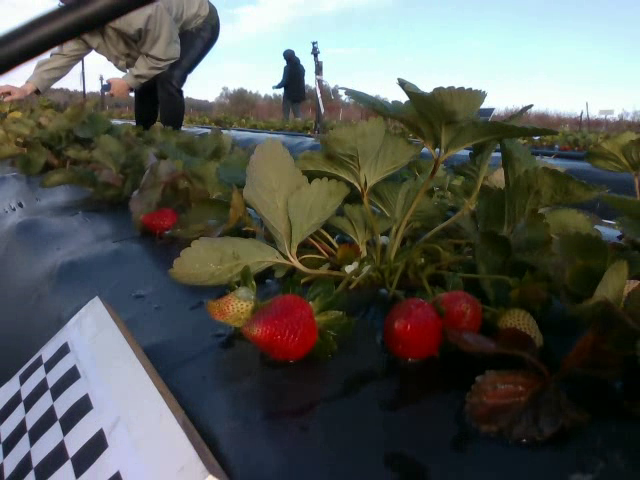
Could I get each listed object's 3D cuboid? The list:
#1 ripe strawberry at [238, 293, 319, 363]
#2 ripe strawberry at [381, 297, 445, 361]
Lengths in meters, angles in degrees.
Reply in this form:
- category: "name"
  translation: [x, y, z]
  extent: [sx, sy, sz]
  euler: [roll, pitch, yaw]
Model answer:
- category: "ripe strawberry"
  translation: [-0.030, 0.054, 0.397]
  extent: [0.050, 0.050, 0.065]
  euler: [-23, -23, 32]
- category: "ripe strawberry"
  translation: [0.053, 0.056, 0.378]
  extent: [0.044, 0.042, 0.055]
  euler: [-35, -23, 11]
